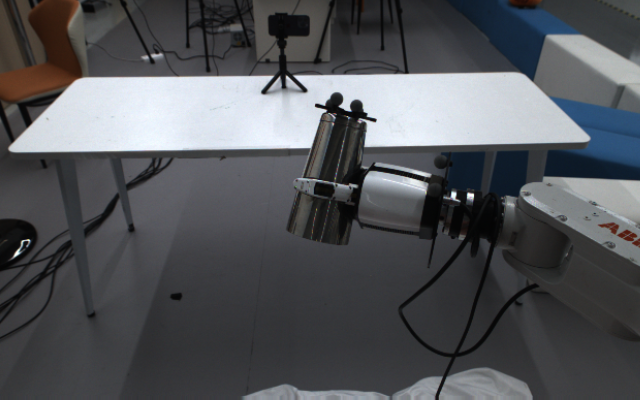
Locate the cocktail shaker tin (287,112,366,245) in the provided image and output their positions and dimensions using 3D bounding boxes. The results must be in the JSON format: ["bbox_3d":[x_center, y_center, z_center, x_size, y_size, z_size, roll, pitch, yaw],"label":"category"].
[{"bbox_3d":[0.016,-0.031,0.682,0.093,0.170,0.093,13,4,-1],"label":"cocktail shaker tin"}]
